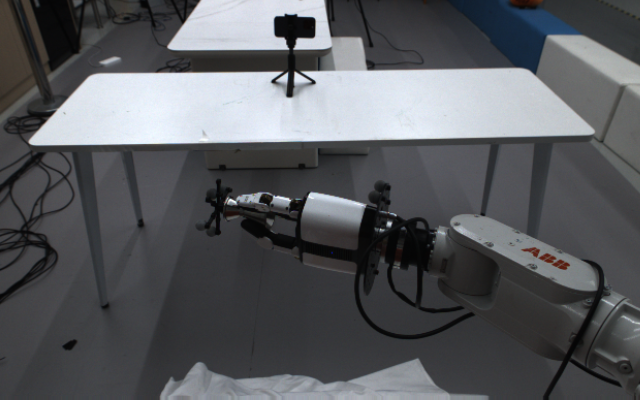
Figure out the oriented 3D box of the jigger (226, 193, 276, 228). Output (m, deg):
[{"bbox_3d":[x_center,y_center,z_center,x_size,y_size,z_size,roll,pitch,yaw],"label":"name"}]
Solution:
[{"bbox_3d":[-0.099,0.014,0.724,0.071,0.043,0.043,7,35,12],"label":"jigger"}]
